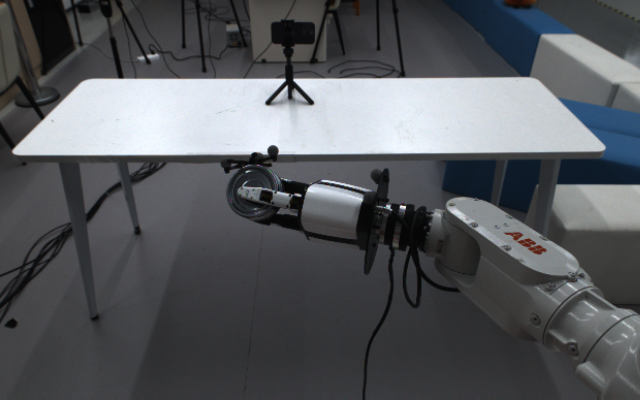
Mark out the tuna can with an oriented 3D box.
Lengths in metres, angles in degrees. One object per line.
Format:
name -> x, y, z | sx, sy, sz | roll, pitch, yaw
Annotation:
tuna can -> -0.097, -0.006, 0.746 | 0.085, 0.085, 0.034 | 12, -6, 14
